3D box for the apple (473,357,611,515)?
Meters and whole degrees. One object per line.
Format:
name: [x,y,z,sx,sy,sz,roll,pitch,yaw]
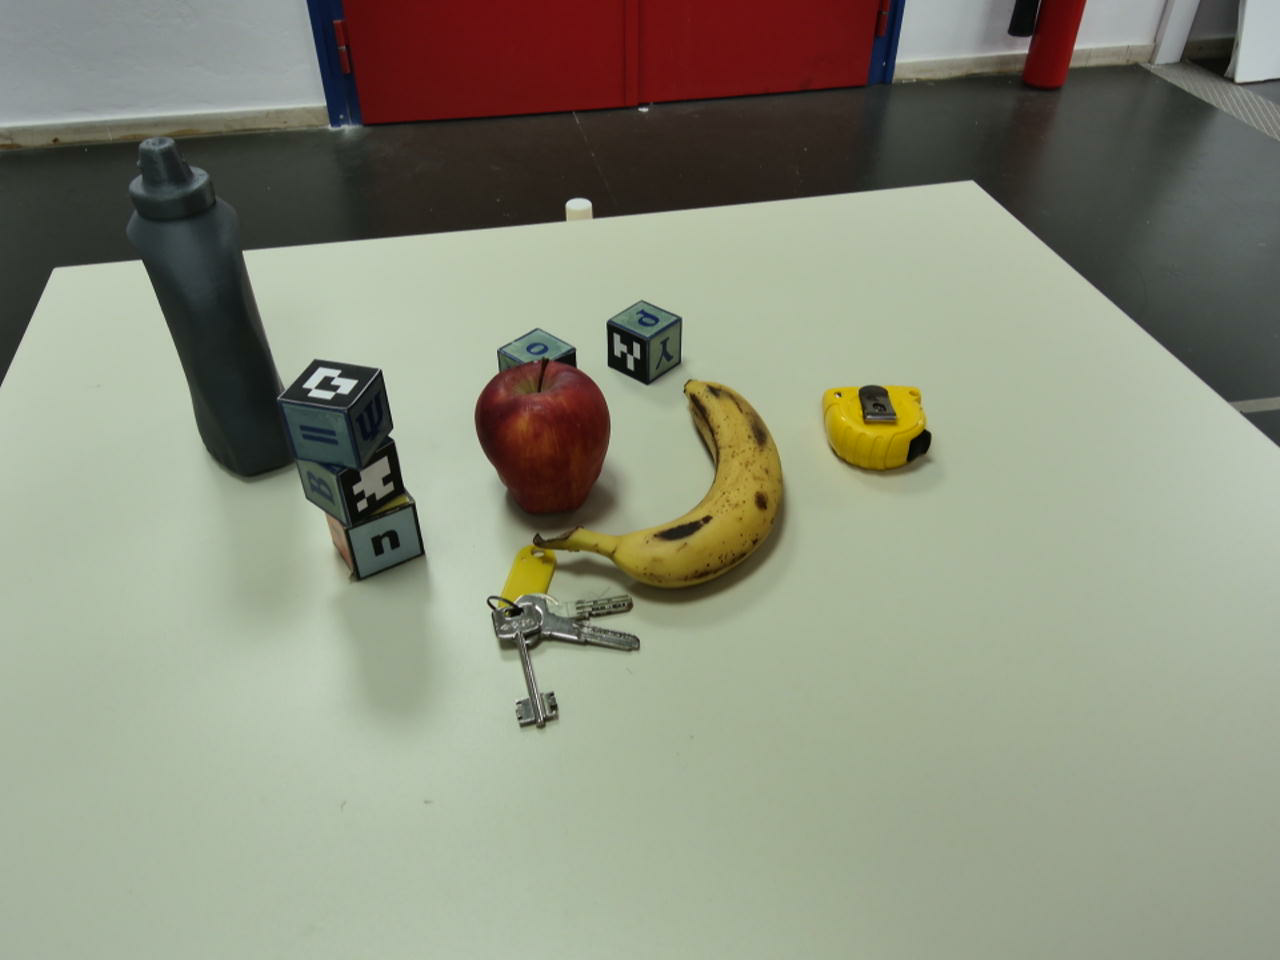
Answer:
apple: [-0.056,-0.030,0.575,0.083,0.090,0.083,0,39,0]
